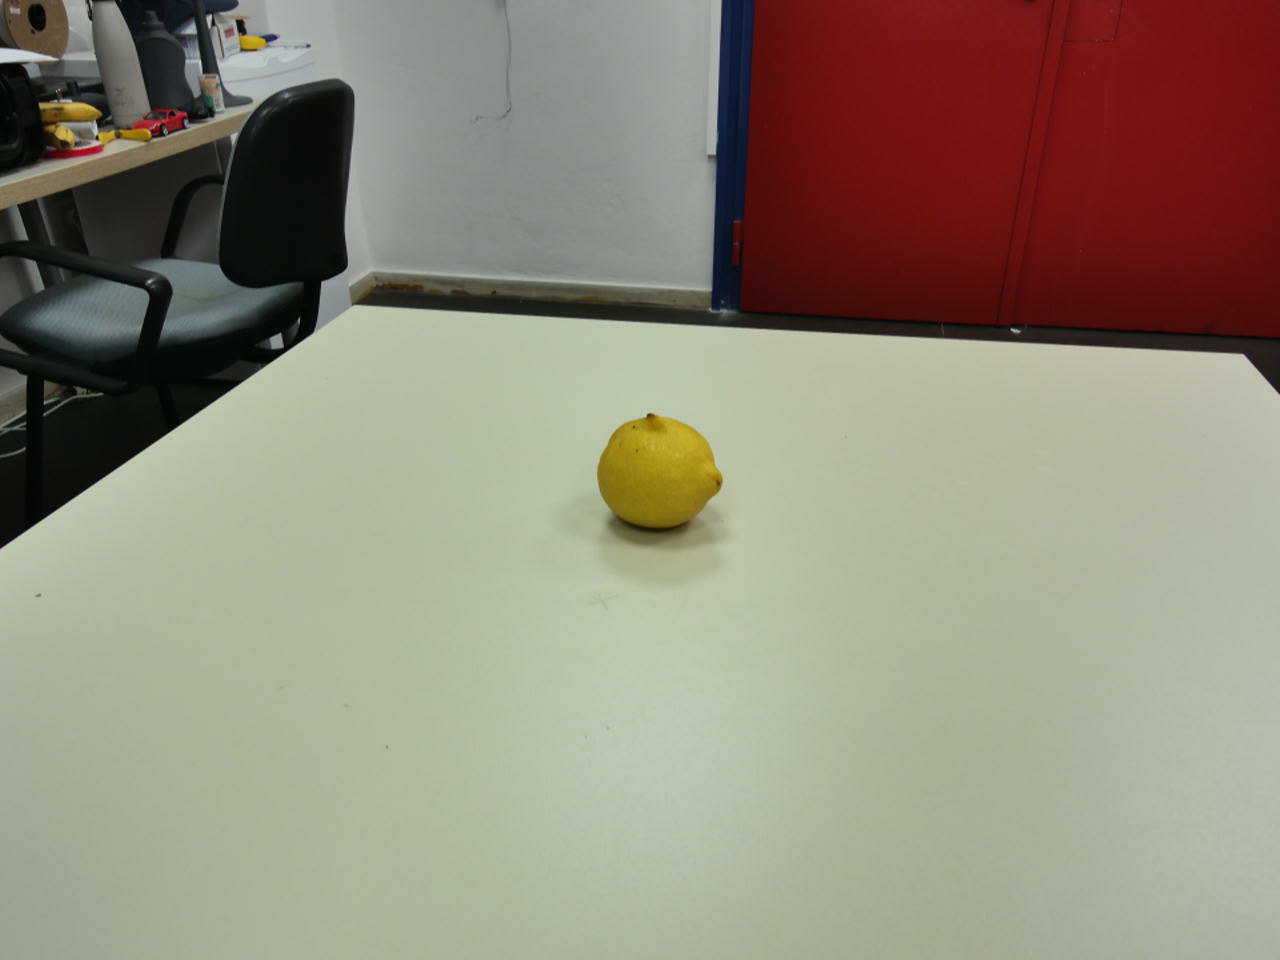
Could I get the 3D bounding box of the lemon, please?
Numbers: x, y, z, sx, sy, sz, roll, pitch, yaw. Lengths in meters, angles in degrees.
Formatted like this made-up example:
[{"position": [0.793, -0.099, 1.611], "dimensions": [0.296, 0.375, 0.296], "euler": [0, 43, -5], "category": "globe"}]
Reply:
[{"position": [0.010, -0.008, 0.606], "dimensions": [0.070, 0.071, 0.071], "euler": [-12, 28, -20], "category": "lemon"}]
